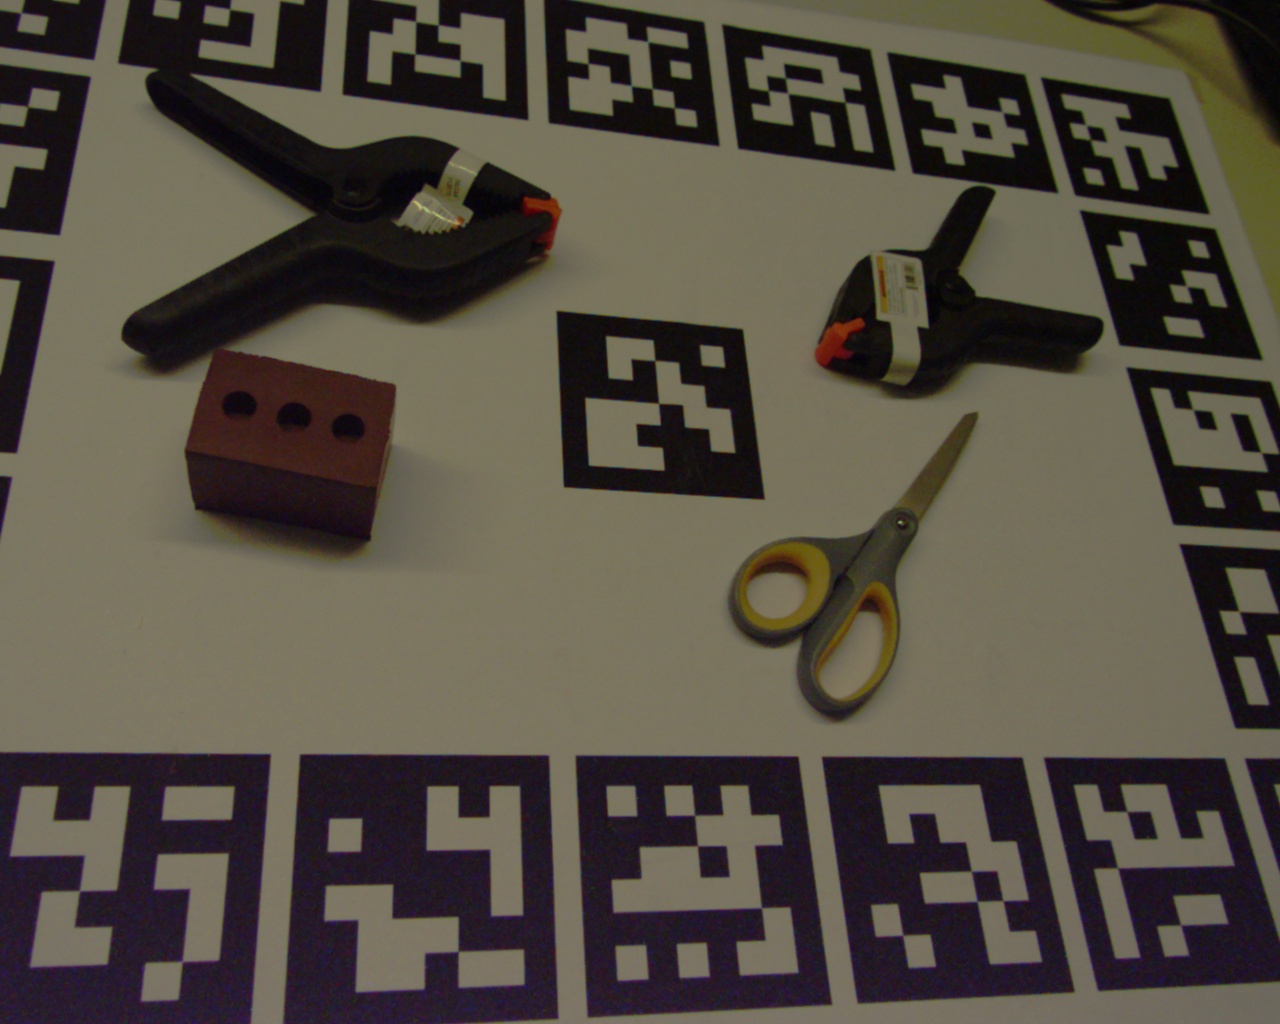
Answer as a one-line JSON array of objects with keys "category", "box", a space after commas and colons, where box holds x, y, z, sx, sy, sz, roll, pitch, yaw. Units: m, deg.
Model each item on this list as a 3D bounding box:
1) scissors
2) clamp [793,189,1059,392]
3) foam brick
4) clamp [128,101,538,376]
[{"category": "scissors", "box": [0.109, 0.014, 0.597, 0.087, 0.016, 0.201, 41, 60, -3]}, {"category": "clamp", "box": [0.159, -0.118, 0.670, 0.164, 0.037, 0.122, -26, 81, -23]}, {"category": "foam brick", "box": [-0.160, -0.019, 0.527, 0.078, 0.051, 0.053, 8, 65, -7]}, {"category": "clamp", "box": [-0.154, -0.141, 0.591, 0.201, 0.037, 0.166, -1, 63, -17]}]
